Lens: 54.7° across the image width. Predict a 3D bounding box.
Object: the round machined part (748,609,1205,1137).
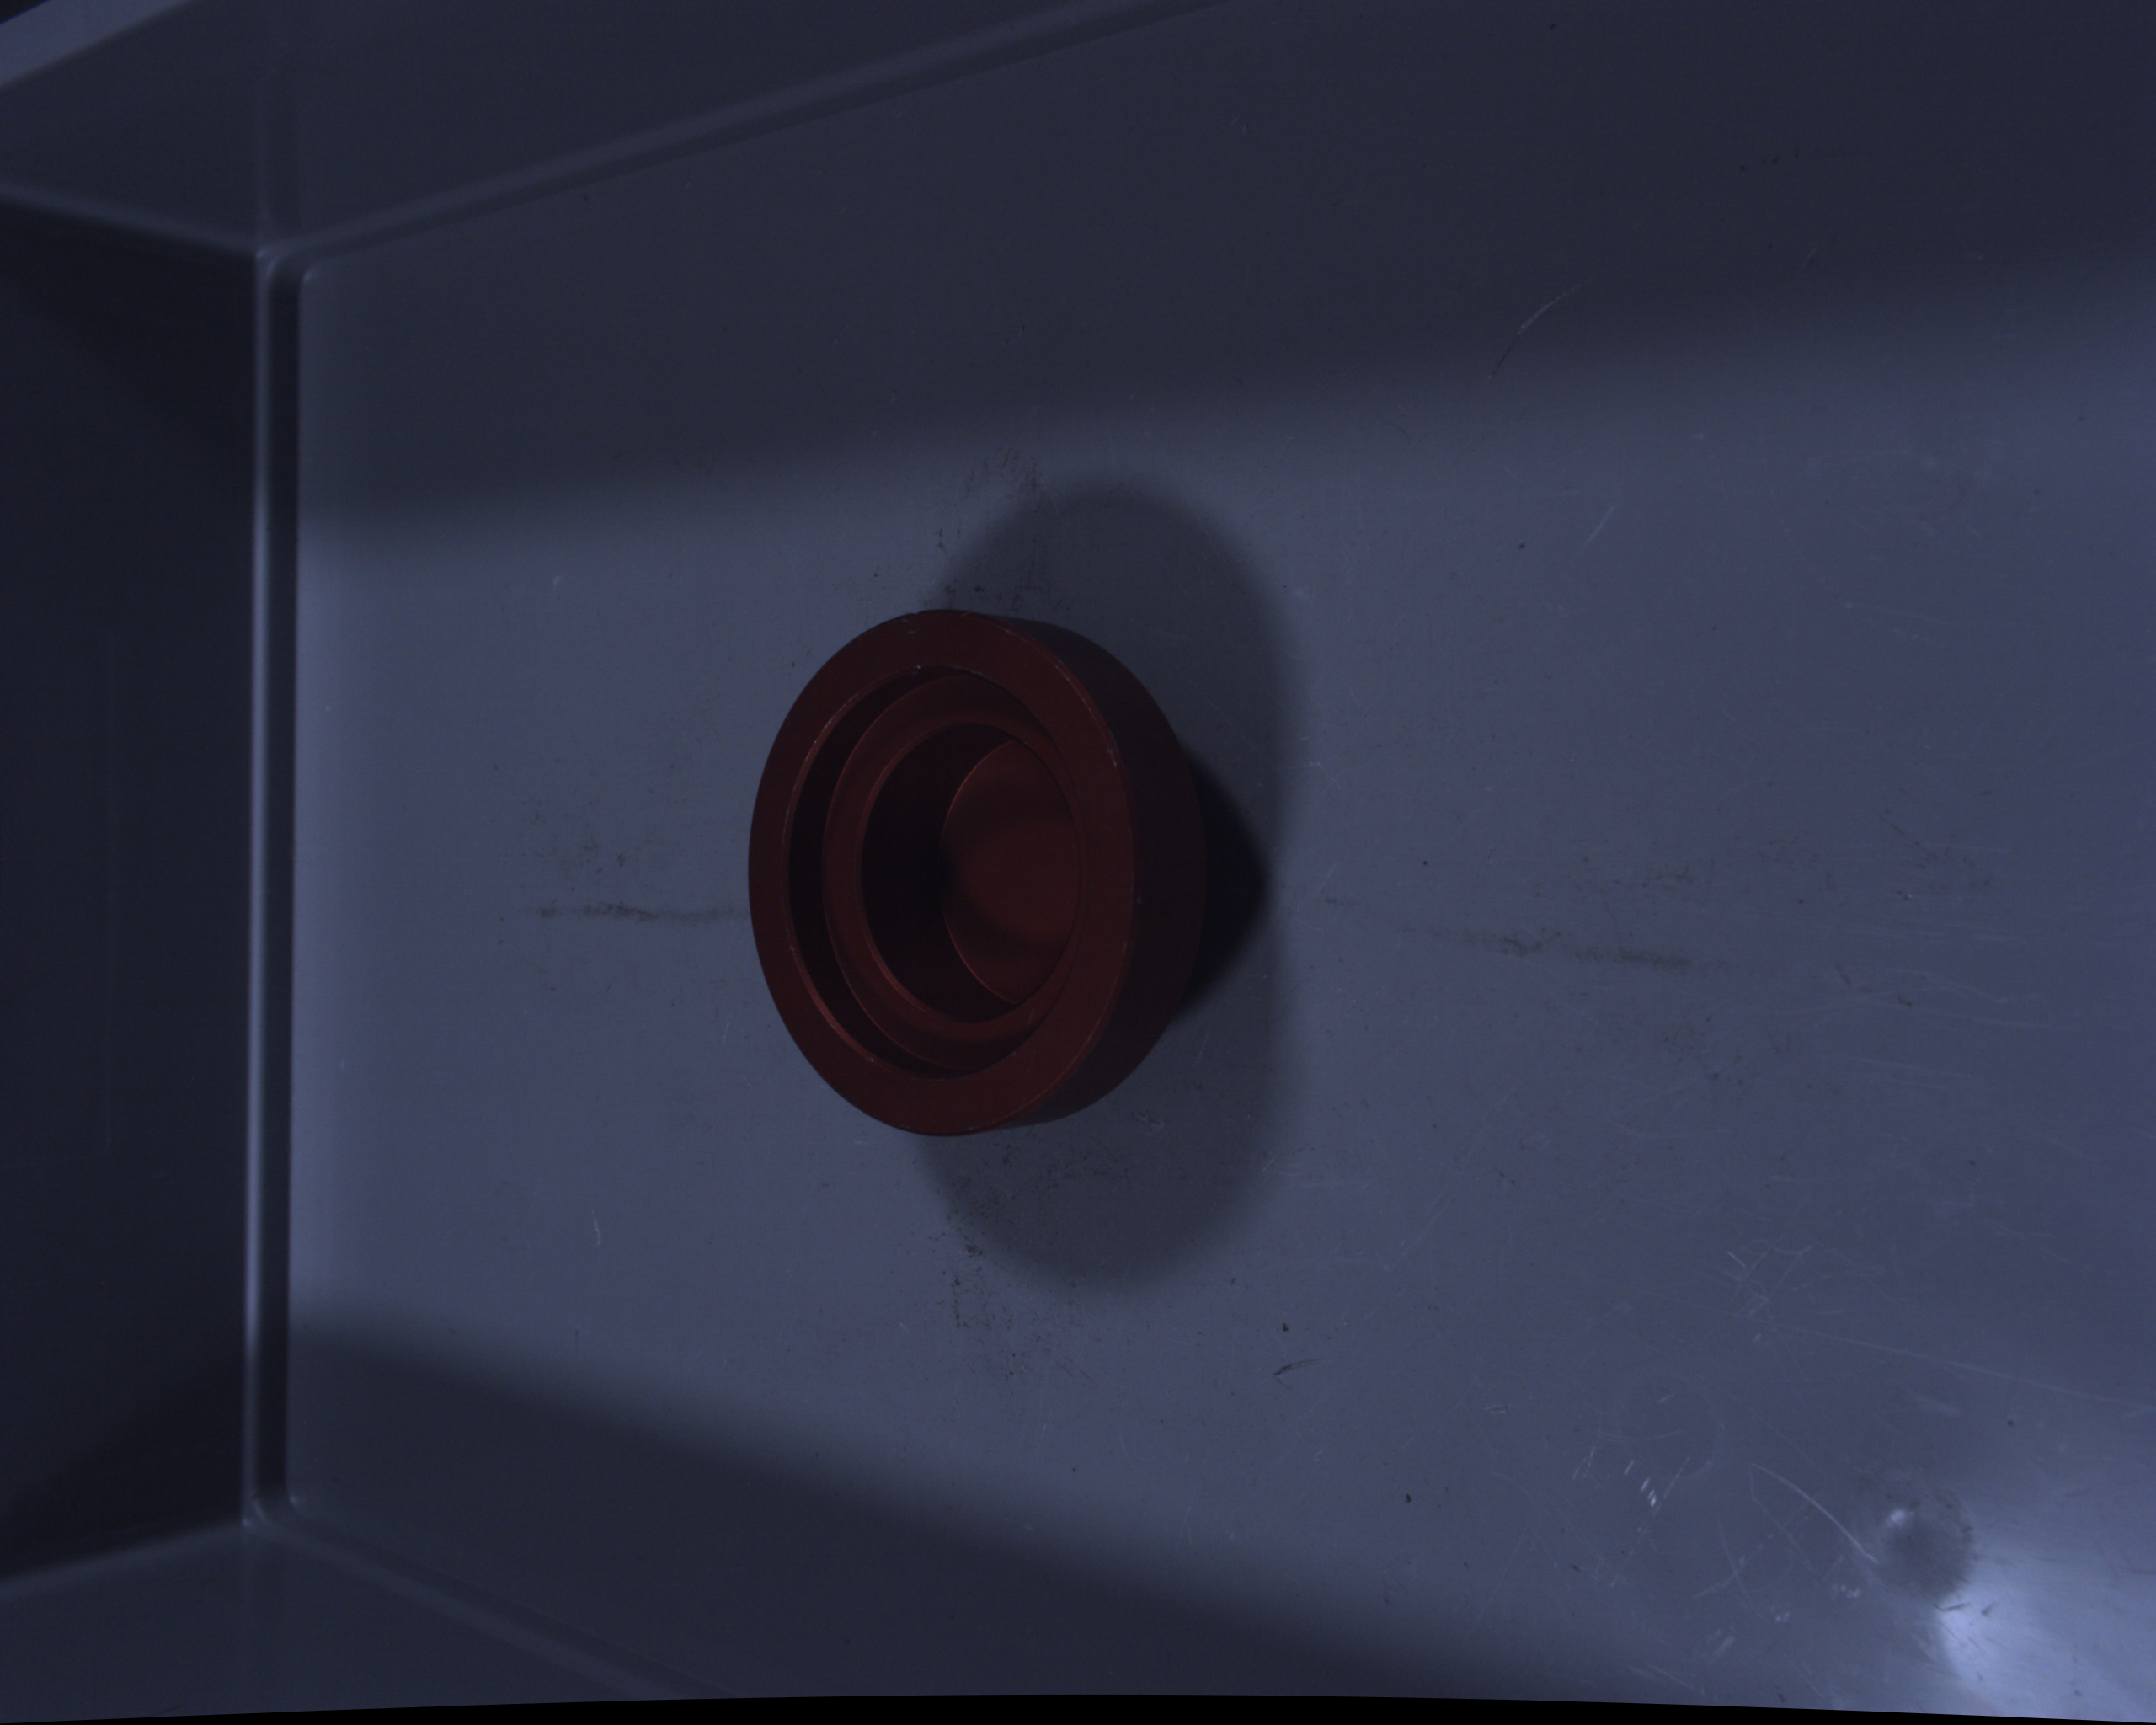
[{"bbox_3d":[-0.015,0.002,0.401,0.098,0.042,0.097,0,90,39],"label":"round machined part"}]
